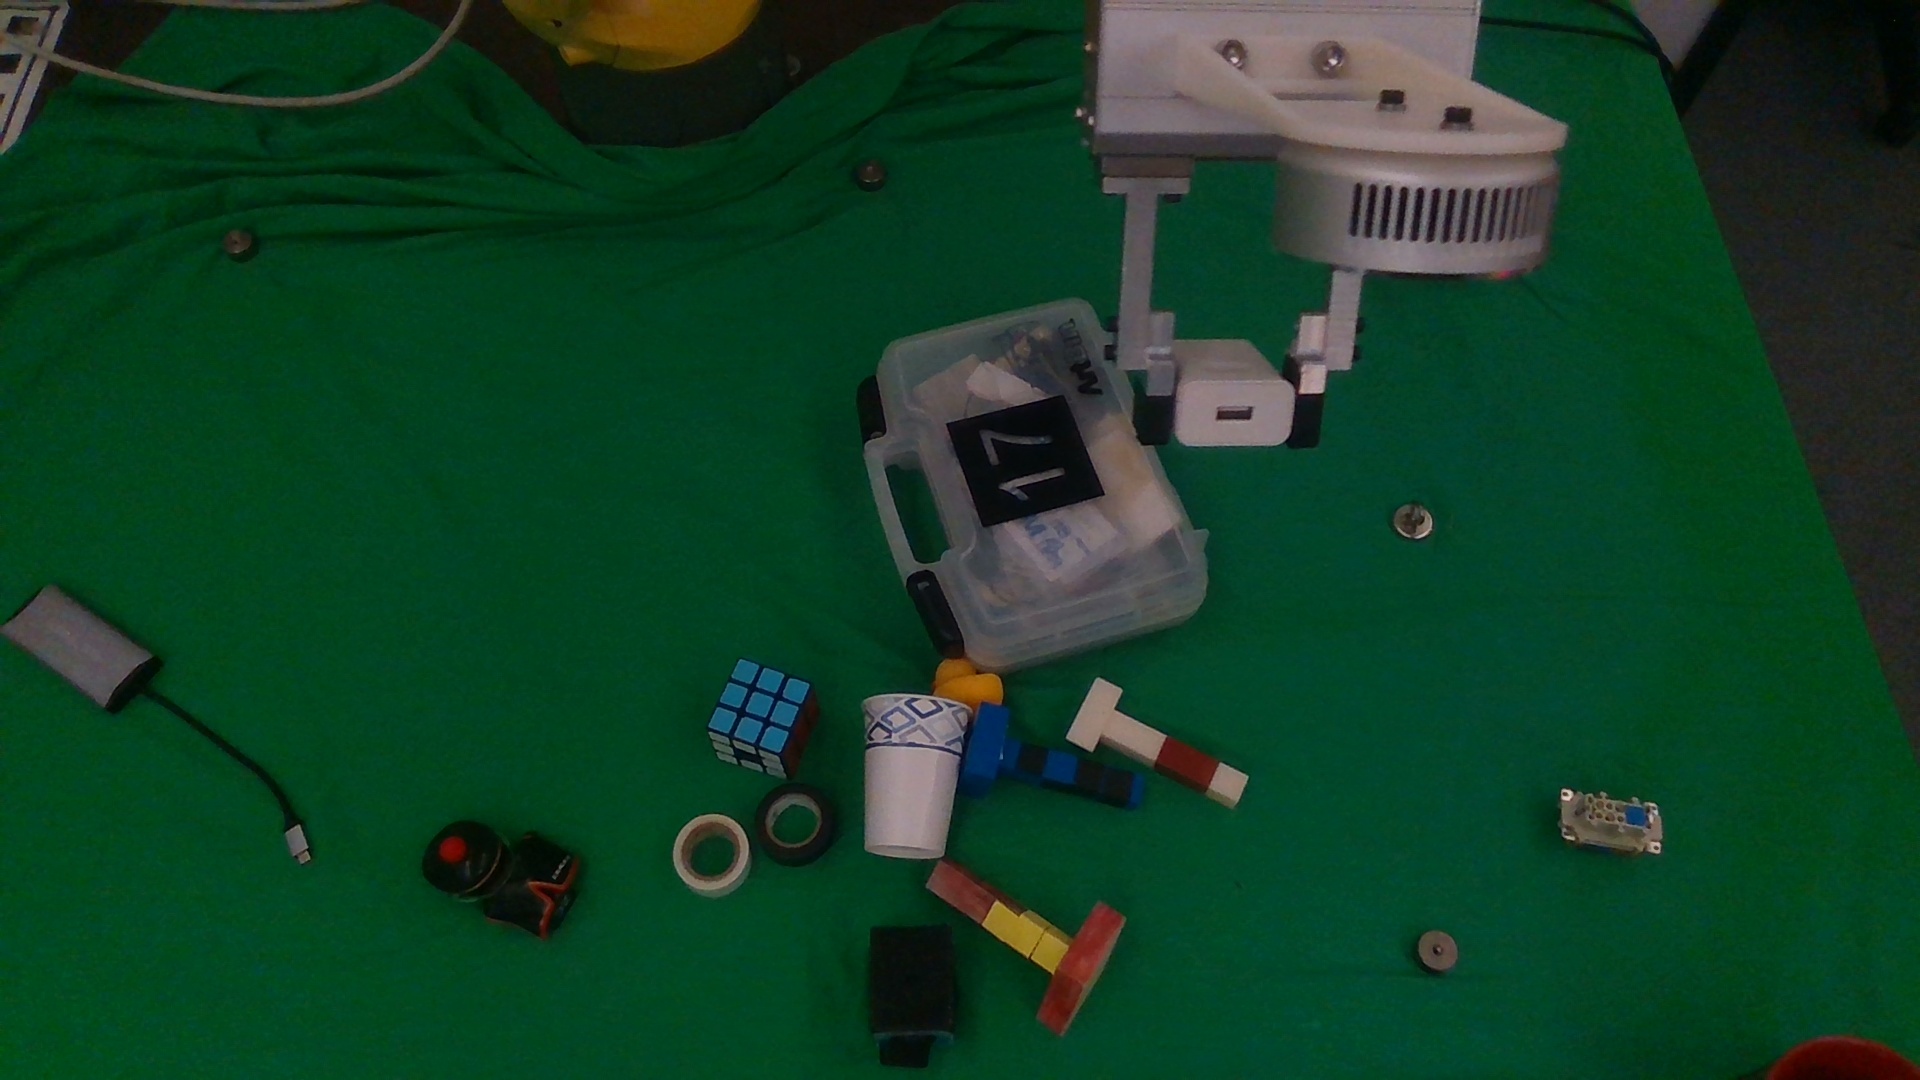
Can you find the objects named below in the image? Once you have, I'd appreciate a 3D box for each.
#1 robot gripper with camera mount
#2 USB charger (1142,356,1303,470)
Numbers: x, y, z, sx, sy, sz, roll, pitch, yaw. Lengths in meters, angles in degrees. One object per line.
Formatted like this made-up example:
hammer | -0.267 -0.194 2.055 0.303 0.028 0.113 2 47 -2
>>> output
robot gripper with camera mount | 0.115 -0.078 0.381 0.119 0.158 0.193 -1 20 -7
USB charger | 0.091 -0.049 0.499 0.044 0.029 0.075 -2 22 -7
